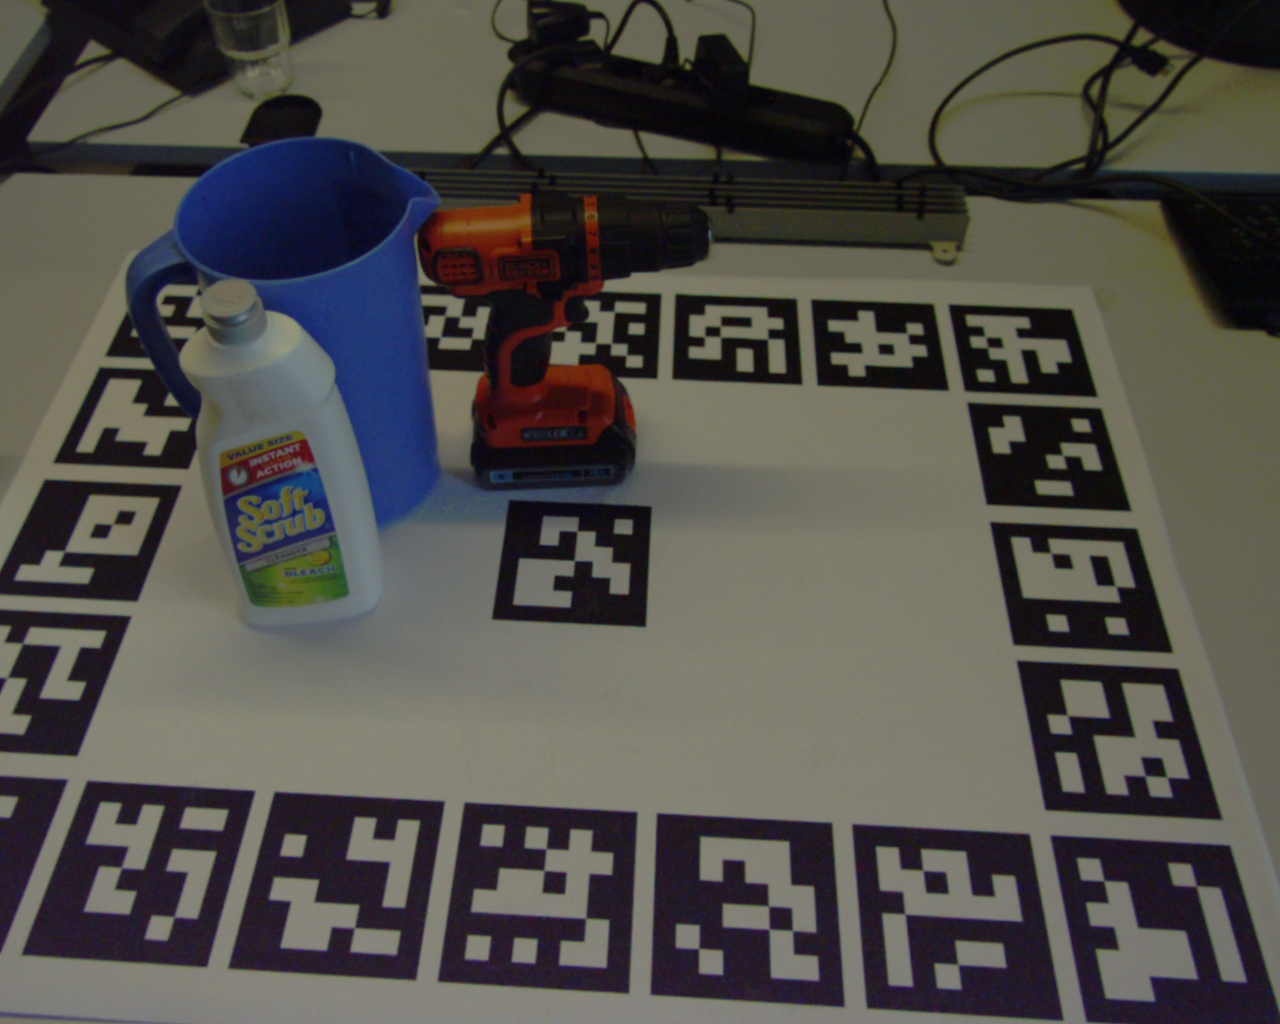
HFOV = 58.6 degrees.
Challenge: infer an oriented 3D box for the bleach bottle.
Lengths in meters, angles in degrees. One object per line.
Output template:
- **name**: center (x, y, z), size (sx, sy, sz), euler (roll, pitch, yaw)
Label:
- **bleach bottle**: center (-0.221, -0.039, 0.683), size (0.102, 0.250, 0.068), euler (-5, 53, -3)

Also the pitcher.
- **pitcher**: center (-0.207, -0.108, 0.760), size (0.188, 0.242, 0.134), euler (-20, 57, -15)

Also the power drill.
- **power drill**: center (-0.039, -0.112, 0.773), size (0.184, 0.187, 0.057), euler (1, 56, -7)
